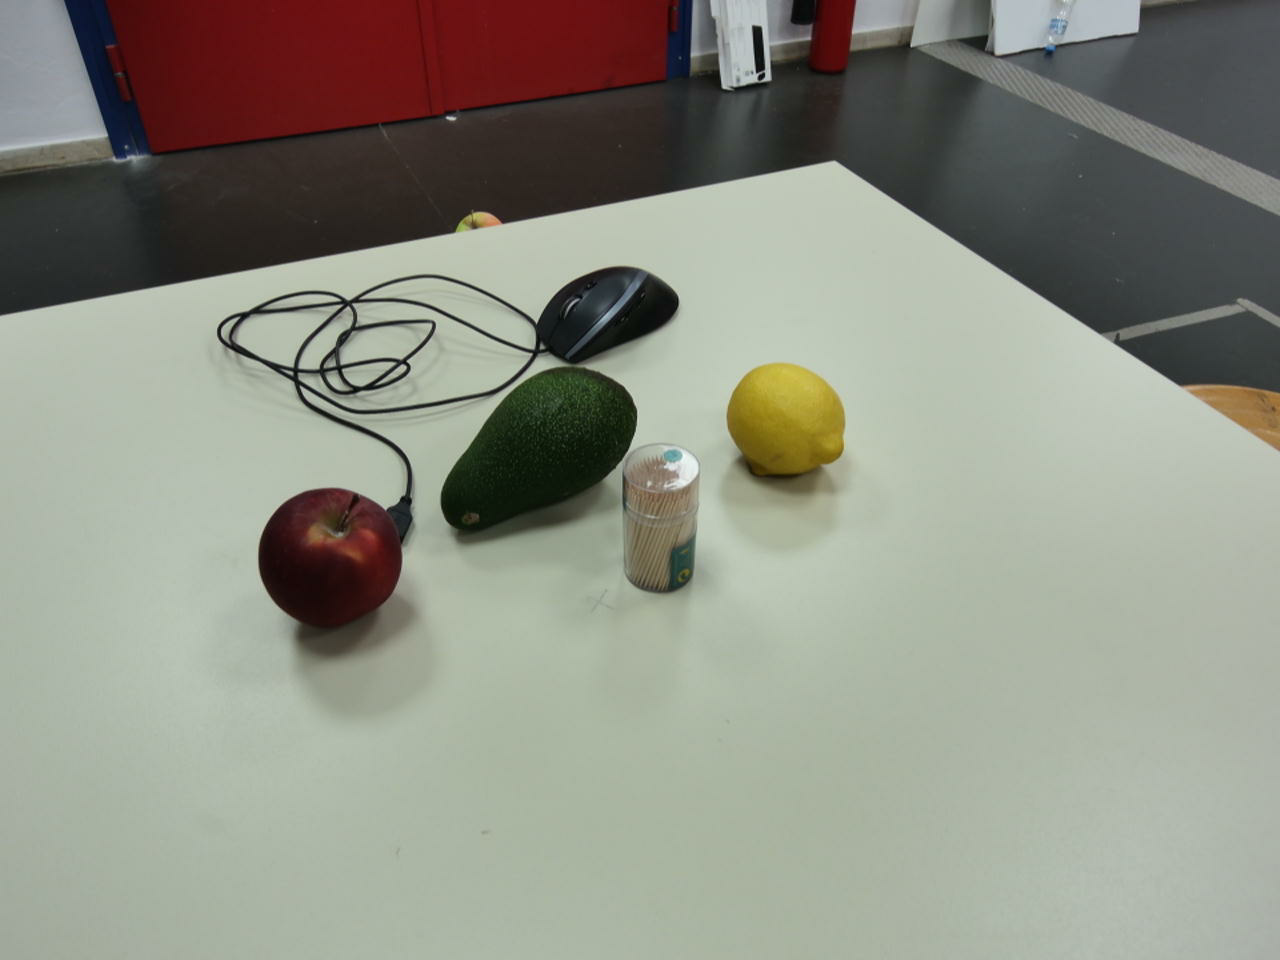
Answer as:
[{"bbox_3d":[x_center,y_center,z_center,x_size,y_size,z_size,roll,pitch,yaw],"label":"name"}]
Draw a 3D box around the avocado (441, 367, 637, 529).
[{"bbox_3d":[-0.061,-0.024,0.580,0.123,0.076,0.074,-11,40,-15],"label":"avocado"}]
